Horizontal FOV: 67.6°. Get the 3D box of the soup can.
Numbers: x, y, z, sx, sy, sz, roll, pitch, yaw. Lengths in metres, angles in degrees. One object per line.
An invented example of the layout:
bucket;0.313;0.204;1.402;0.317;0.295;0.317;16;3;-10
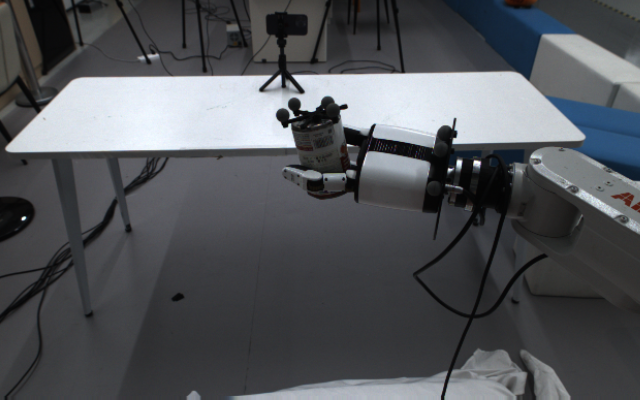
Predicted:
soup can;0.006;-0.061;0.645;0.067;0.101;0.067;-11;27;6
